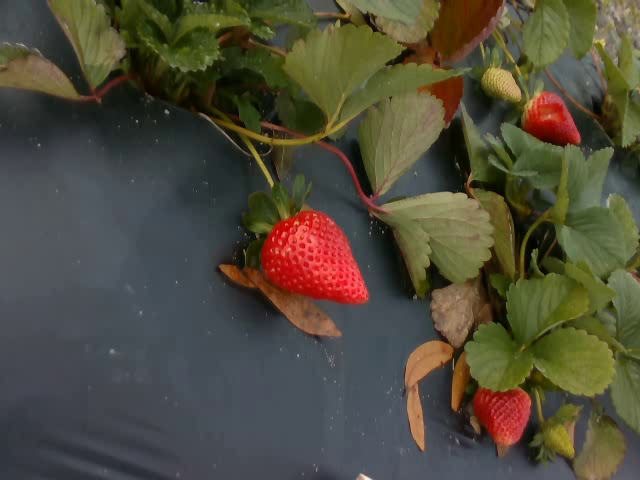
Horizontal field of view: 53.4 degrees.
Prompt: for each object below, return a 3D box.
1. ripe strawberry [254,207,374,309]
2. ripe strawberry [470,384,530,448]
[{"bbox_3d":[0.002,0.015,0.303,0.065,0.047,0.043,36,-9,28],"label":"ripe strawberry"},{"bbox_3d":[0.109,0.106,0.365,0.037,0.041,0.042,-29,25,26],"label":"ripe strawberry"}]
